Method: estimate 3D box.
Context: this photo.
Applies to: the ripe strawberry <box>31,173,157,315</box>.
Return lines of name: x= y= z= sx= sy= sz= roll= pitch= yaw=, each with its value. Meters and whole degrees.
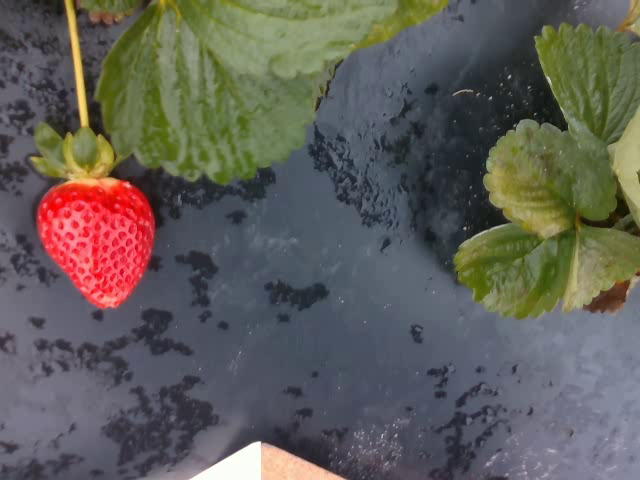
ripe strawberry: x=-0.083 y=0.001 z=0.225 sx=0.045 sy=0.053 sz=0.048 roll=-4 pitch=-5 yaw=1
